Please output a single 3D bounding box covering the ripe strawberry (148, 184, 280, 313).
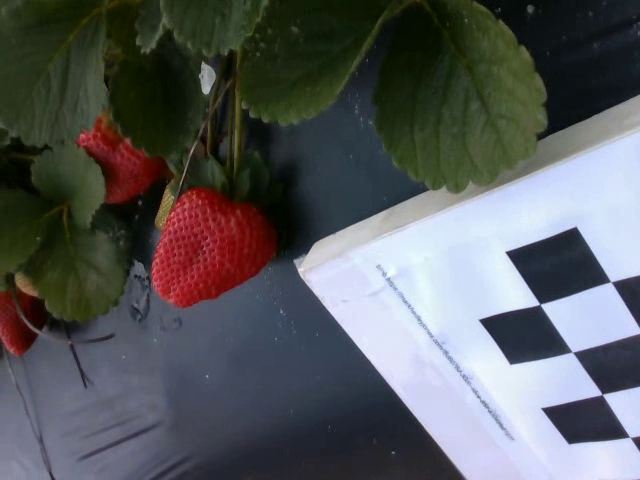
[{"bbox_3d":[-0.055,0.008,0.281,0.056,0.065,0.057,20,-31,7],"label":"ripe strawberry"}]

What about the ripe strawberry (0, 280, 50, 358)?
[{"bbox_3d":[-0.206,0.054,0.403,0.041,0.051,0.043,-1,-30,-34],"label":"ripe strawberry"}]
